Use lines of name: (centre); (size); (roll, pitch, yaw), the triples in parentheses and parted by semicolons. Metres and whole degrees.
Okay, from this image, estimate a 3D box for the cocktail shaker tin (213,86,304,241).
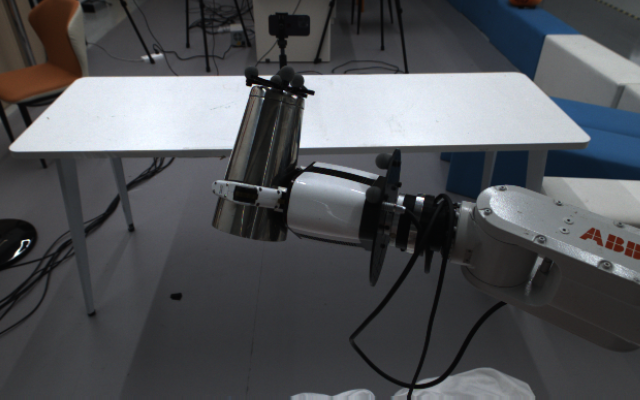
cocktail shaker tin: (-0.068, -0.044, 0.583); (0.093, 0.170, 0.093); (12, 4, -1)
